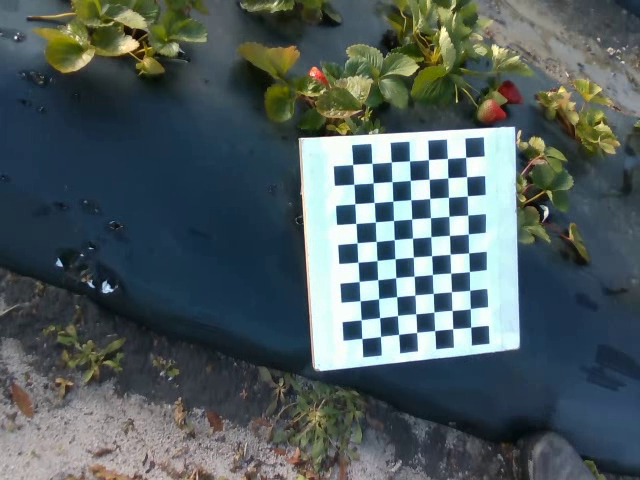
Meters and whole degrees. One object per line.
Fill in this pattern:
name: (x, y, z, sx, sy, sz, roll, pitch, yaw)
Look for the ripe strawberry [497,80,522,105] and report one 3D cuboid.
ripe strawberry: (0.357, -0.271, 1.085, 0.064, 0.049, 0.050, 37, 0, -7)
